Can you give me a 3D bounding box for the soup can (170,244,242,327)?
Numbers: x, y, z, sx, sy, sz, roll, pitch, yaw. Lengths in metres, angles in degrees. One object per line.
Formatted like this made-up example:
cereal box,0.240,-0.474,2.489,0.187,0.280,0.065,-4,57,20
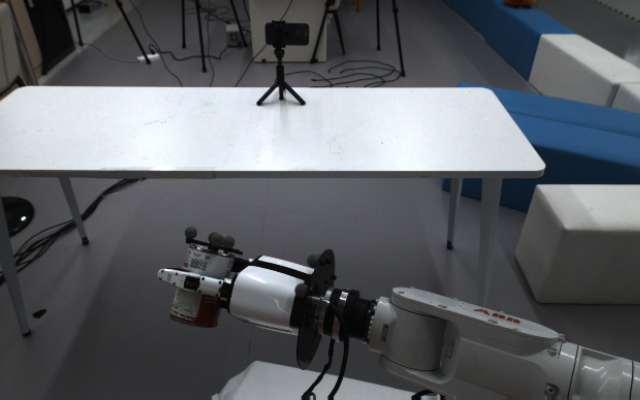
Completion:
soup can,-0.161,0.120,0.671,0.067,0.101,0.067,13,-6,1
